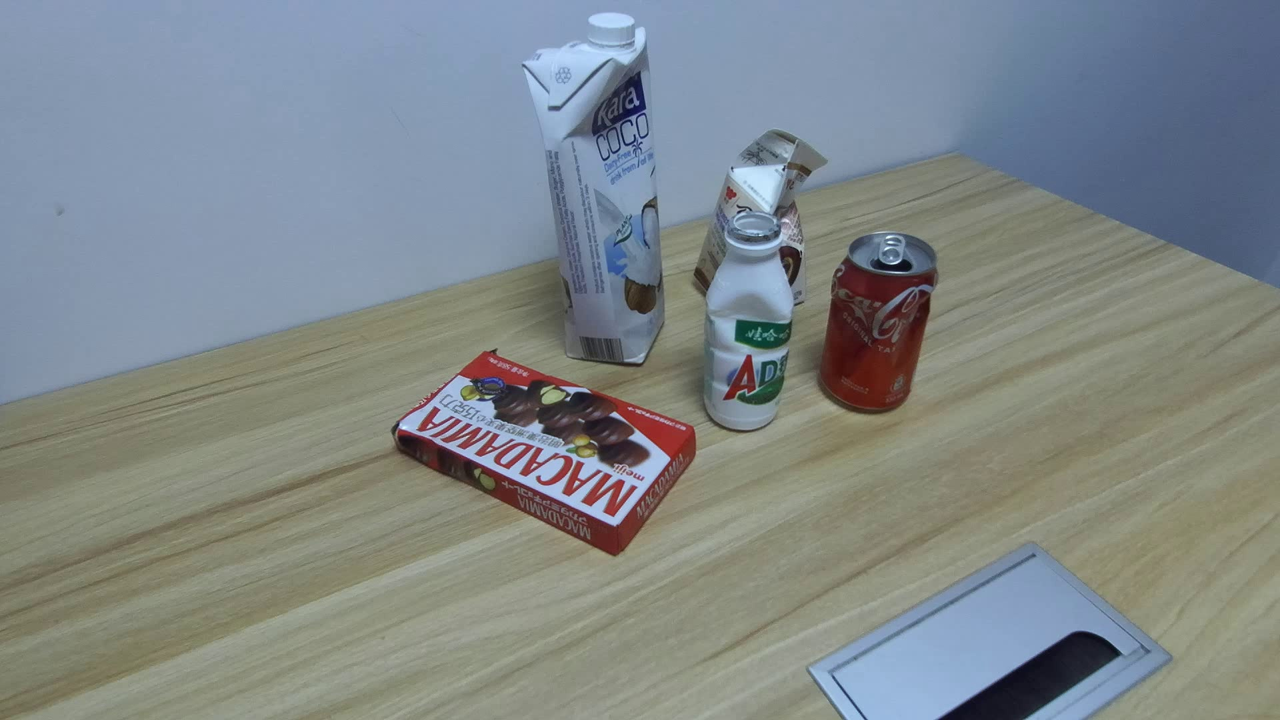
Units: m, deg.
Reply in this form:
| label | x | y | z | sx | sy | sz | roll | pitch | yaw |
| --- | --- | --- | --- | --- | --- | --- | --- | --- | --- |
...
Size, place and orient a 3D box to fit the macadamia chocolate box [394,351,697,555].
| label | x | y | z | sx | sy | sz | roll | pitch | yaw |
| --- | --- | --- | --- | --- | --- | --- | --- | --- | --- |
| macadamia chocolate box | -0.065 | 0.051 | 0.469 | 0.182 | 0.028 | 0.106 | 19 | 42 | 25 |

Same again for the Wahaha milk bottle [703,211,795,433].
| label | x | y | z | sx | sy | sz | roll | pitch | yaw |
| --- | --- | --- | --- | --- | --- | --- | --- | --- | --- |
| Wahaha milk bottle | 0.068 | -0.021 | 0.448 | 0.056 | 0.148 | 0.056 | 0 | 39 | 0 |

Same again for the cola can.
| label | x | y | z | sx | sy | sz | roll | pitch | yaw |
| --- | --- | --- | --- | --- | --- | --- | --- | --- | --- |
| cola can | 0.161 | -0.025 | 0.480 | 0.066 | 0.117 | 0.066 | -22 | 40 | -26 |

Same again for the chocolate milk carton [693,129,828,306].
| label | x | y | z | sx | sy | sz | roll | pitch | yaw |
| --- | --- | --- | --- | --- | --- | --- | --- | --- | --- |
| chocolate milk carton | 0.101 | -0.111 | 0.568 | 0.089 | 0.155 | 0.076 | -10 | 41 | -32 |

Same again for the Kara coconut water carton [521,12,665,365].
| label | x | y | z | sx | sy | sz | roll | pitch | yaw |
| --- | --- | --- | --- | --- | --- | --- | --- | --- | --- |
| Kara coconut water carton | -0.024 | -0.112 | 0.502 | 0.069 | 0.239 | 0.115 | 7 | 36 | 17 |
